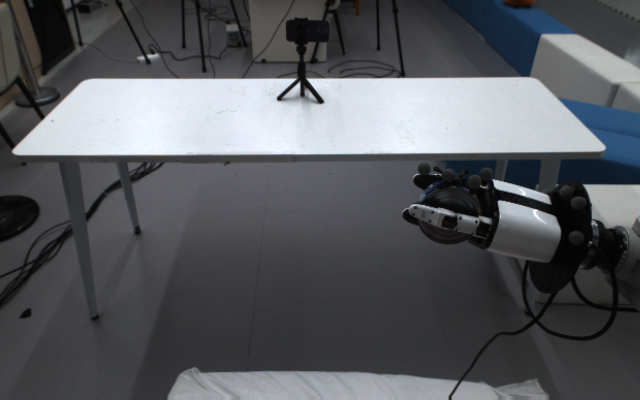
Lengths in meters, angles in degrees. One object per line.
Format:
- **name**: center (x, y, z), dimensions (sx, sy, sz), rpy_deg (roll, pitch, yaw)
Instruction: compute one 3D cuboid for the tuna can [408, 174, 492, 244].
- **tuna can**: center (0.178, 0.015, 0.664), dimensions (0.085, 0.085, 0.034), rpy_deg (7, 22, 7)
